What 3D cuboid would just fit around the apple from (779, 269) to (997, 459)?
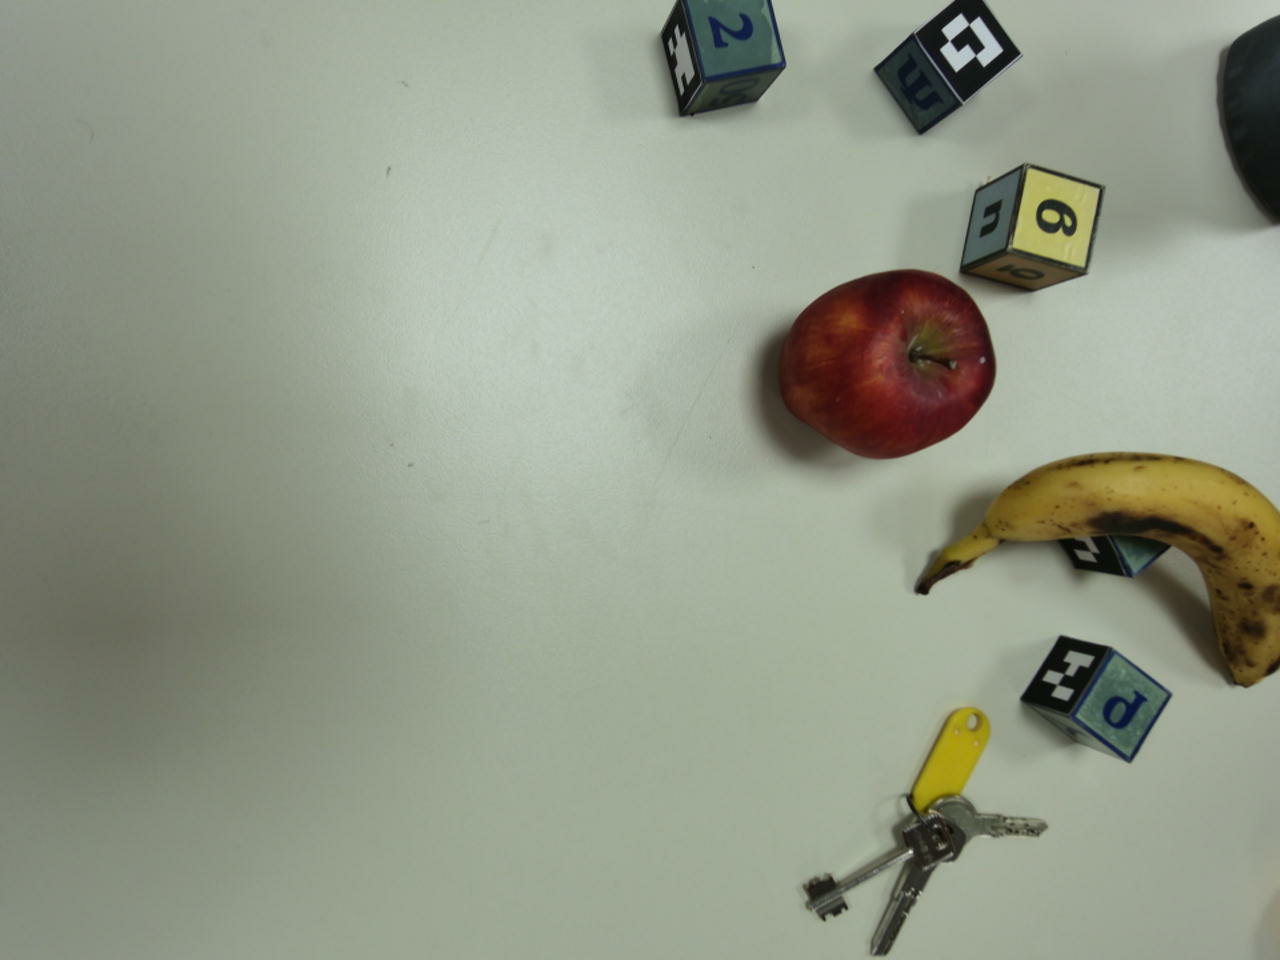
[{"bbox_3d":[0.102,-0.048,0.410,0.083,0.090,0.083,0,90,-11],"label":"apple"}]
